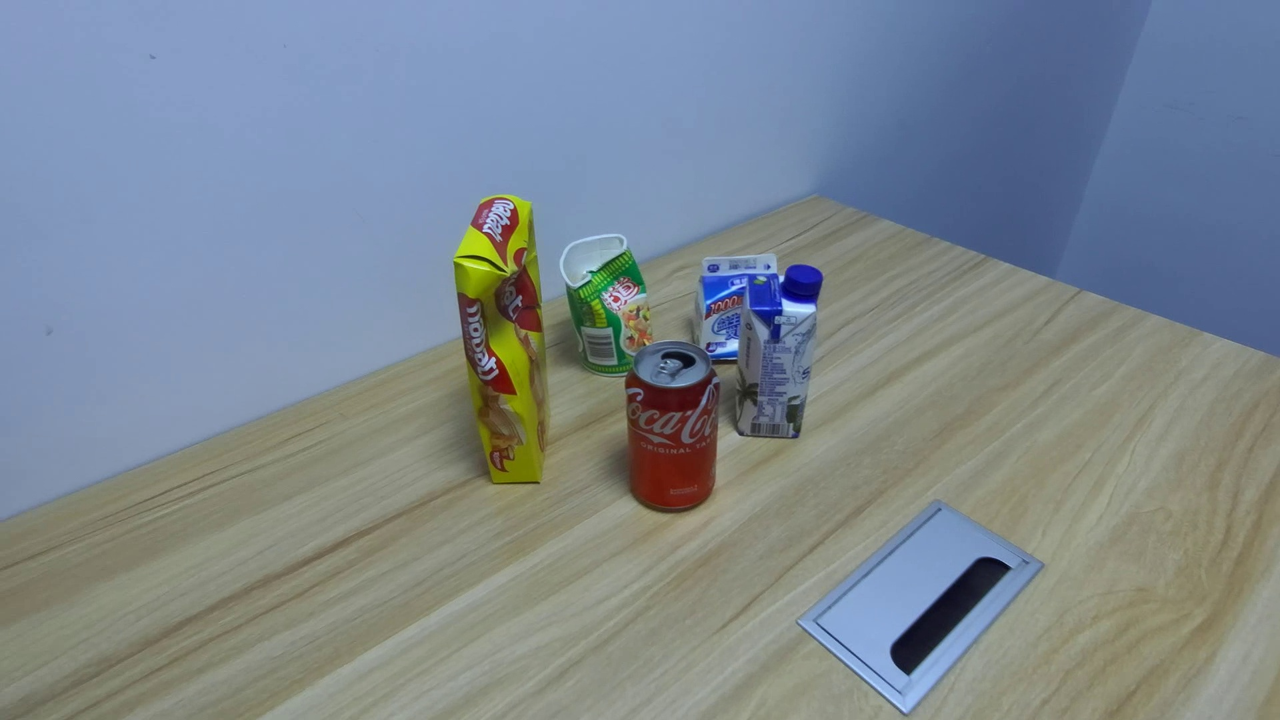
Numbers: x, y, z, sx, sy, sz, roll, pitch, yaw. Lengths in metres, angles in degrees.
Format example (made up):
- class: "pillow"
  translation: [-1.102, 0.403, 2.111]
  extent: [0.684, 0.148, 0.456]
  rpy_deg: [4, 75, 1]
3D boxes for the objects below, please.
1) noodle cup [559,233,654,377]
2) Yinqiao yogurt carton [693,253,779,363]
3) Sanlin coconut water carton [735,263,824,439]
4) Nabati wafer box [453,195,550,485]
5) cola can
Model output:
- class: "noodle cup"
  translation: [-0.028, -0.050, 0.663]
  extent: [0.083, 0.122, 0.075]
  rpy_deg: [-29, 36, -18]
- class: "Yinqiao yogurt carton"
  translation: [0.092, -0.054, 0.676]
  extent: [0.077, 0.094, 0.071]
  rpy_deg: [-2, 27, -1]
- class: "Sanlin coconut water carton"
  translation: [0.109, -0.008, 0.567]
  extent: [0.061, 0.144, 0.060]
  rpy_deg: [0, 37, 5]
- class: "Nabati wafer box"
  translation: [-0.099, -0.009, 0.531]
  extent: [0.042, 0.204, 0.106]
  rpy_deg: [0, 34, 0]
- class: "cola can"
  translation: [0.024, 0.048, 0.516]
  extent: [0.068, 0.120, 0.067]
  rpy_deg: [-1, 35, 1]
